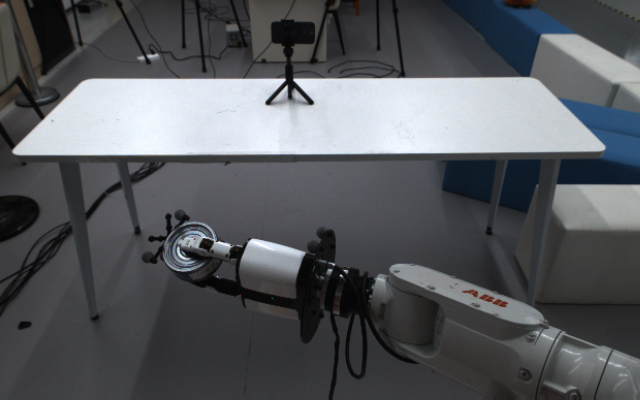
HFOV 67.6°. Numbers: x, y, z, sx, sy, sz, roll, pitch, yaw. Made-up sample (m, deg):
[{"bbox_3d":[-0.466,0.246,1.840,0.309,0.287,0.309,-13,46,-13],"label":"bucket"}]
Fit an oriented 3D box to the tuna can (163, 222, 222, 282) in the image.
[{"bbox_3d":[-0.186,0.076,0.718,0.085,0.034,0.085,-4,60,6],"label":"tuna can"}]
